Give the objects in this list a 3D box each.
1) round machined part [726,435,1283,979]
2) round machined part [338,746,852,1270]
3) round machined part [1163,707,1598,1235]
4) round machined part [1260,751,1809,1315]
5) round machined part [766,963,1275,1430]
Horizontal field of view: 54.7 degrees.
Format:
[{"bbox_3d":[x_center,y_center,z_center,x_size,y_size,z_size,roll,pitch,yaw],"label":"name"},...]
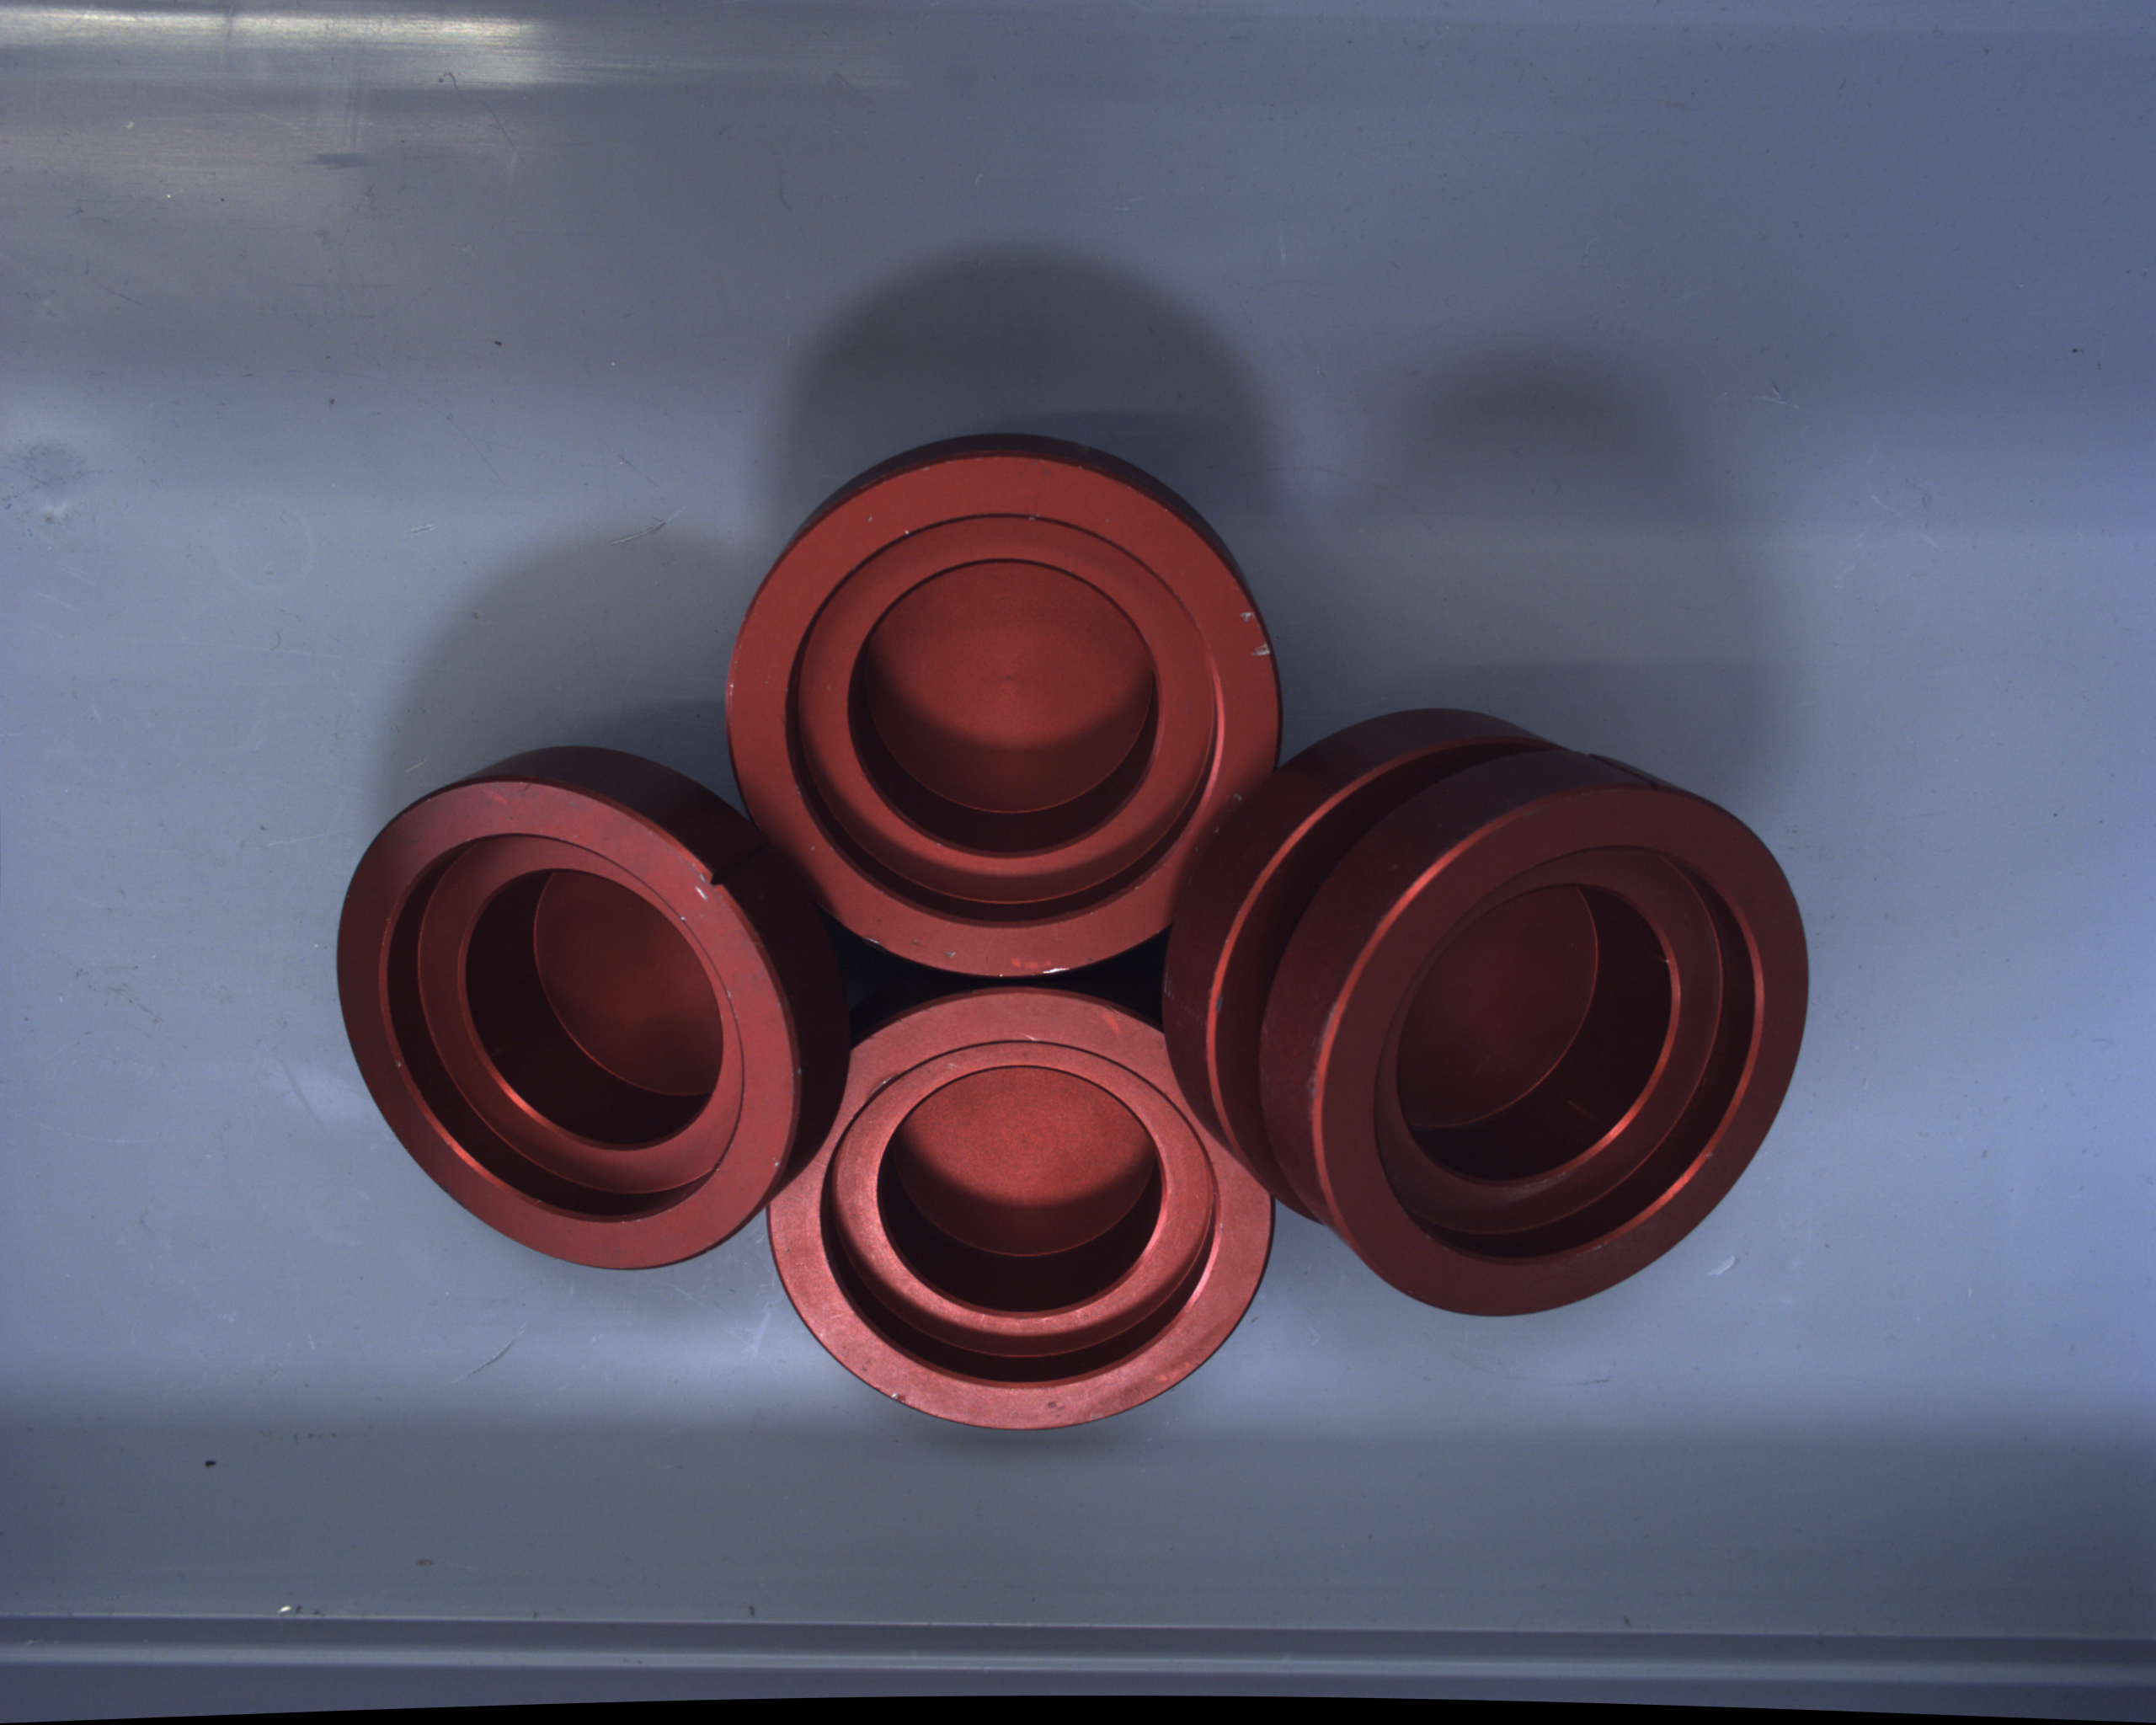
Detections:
[{"bbox_3d":[-0.013,-0.031,0.388,0.099,0.042,0.097,0,110,0],"label":"round machined part"},{"bbox_3d":[-0.087,0.024,0.398,0.098,0.042,0.097,7,111,19],"label":"round machined part"},{"bbox_3d":[0.061,0.017,0.396,0.099,0.042,0.097,-8,111,-21],"label":"round machined part"},{"bbox_3d":[0.076,0.027,0.370,0.099,0.042,0.097,-8,112,-21],"label":"round machined part"},{"bbox_3d":[-0.011,0.062,0.422,0.099,0.042,0.097,0,110,0],"label":"round machined part"}]
